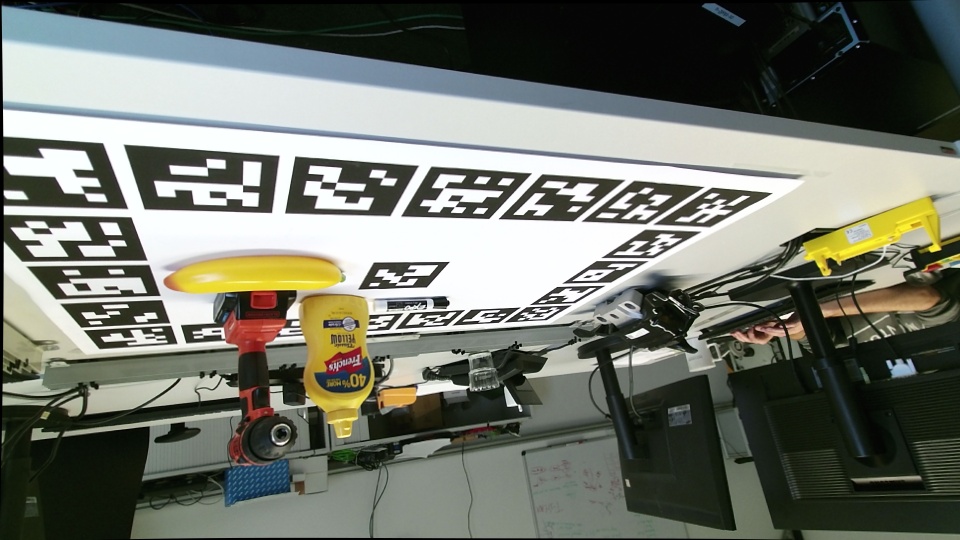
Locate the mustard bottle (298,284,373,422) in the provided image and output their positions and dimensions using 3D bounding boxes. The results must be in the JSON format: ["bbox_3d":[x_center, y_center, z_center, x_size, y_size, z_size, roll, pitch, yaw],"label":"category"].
[{"bbox_3d":[-0.201,0.117,0.755,0.096,0.190,0.058,6,152,-35],"label":"mustard bottle"}]

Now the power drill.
[{"bbox_3d":[-0.268,0.106,0.650,0.057,0.186,0.185,8,153,-37],"label":"power drill"}]

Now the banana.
[{"bbox_3d":[-0.243,-0.018,0.618,0.198,0.038,0.074,1,153,-34],"label":"banana"}]

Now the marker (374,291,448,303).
[{"bbox_3d":[-0.107,0.042,0.850,0.121,0.019,0.019,0,154,-27],"label":"marker"}]
